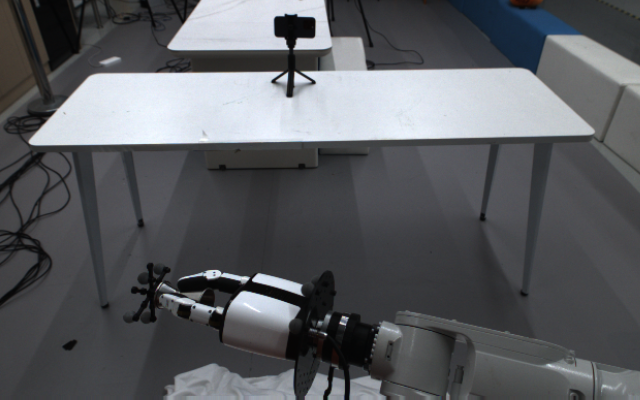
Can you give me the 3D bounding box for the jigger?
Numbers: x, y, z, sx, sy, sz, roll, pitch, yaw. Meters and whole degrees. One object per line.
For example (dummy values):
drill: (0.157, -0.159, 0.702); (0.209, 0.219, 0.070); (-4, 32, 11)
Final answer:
jigger: (-0.177, 0.130, 0.652); (0.071, 0.043, 0.043); (7, 35, 15)
